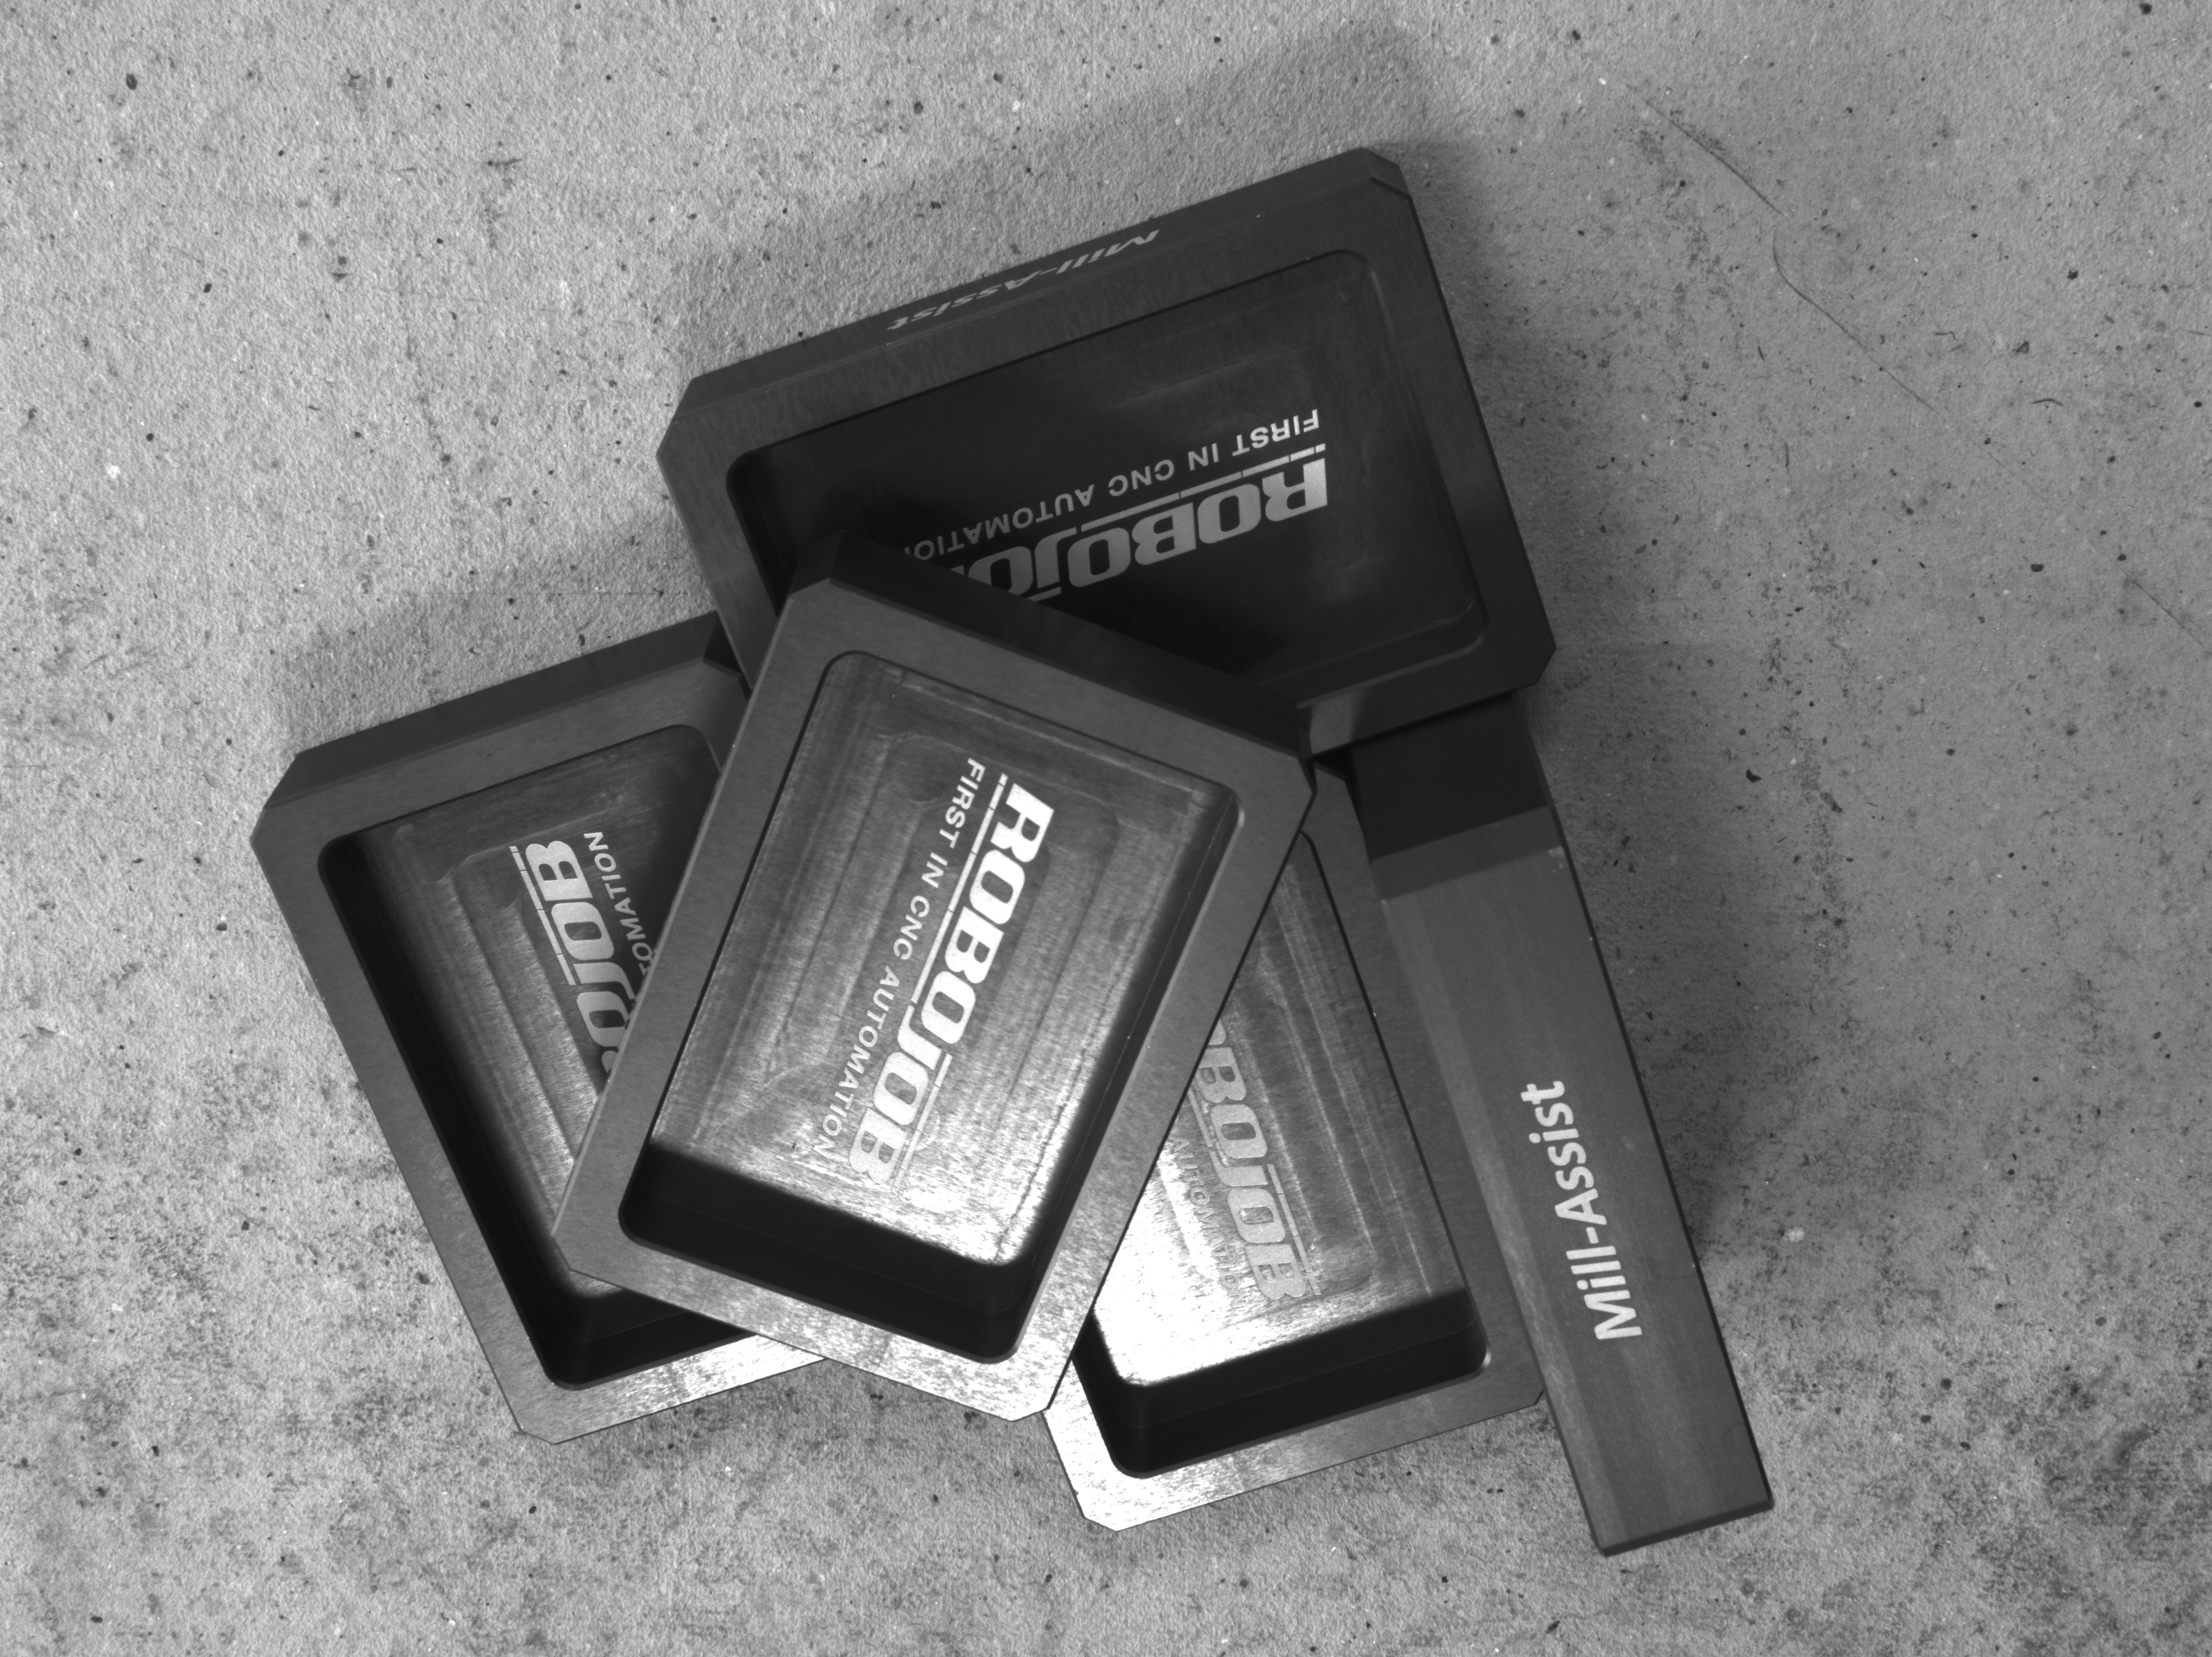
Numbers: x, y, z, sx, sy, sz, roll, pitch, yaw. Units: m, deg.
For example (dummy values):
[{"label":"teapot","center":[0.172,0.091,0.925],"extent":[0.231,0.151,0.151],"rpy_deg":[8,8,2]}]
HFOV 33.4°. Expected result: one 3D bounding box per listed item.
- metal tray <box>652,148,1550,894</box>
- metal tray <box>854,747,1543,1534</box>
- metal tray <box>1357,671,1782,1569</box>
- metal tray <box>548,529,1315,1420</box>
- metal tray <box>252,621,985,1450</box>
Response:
[{"label":"metal tray","center":[0.000,-0.051,0.624],"extent":[0.130,0.030,0.090],"rpy_deg":[-17,109,7]},{"label":"metal tray","center":[0.018,0.054,0.659],"extent":[0.090,0.030,0.130],"rpy_deg":[-18,110,7]},{"label":"metal tray","center":[0.077,0.047,0.624],"extent":[0.030,0.090,0.130],"rpy_deg":[-17,109,6]},{"label":"metal tray","center":[-0.030,0.026,0.620],"extent":[0.090,0.030,0.130],"rpy_deg":[21,109,-7]},{"label":"metal tray","center":[-0.083,0.038,0.654],"extent":[0.090,0.030,0.130],"rpy_deg":[-18,109,7]}]
